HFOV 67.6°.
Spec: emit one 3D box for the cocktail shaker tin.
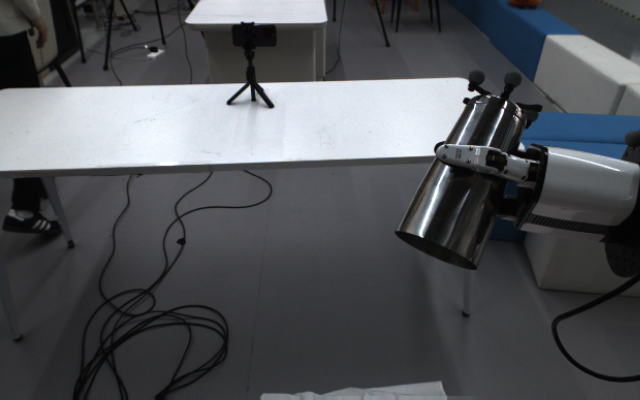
[{"bbox_3d":[0.160,-0.025,0.519,0.093,0.093,0.170,21,81,25],"label":"cocktail shaker tin"}]
